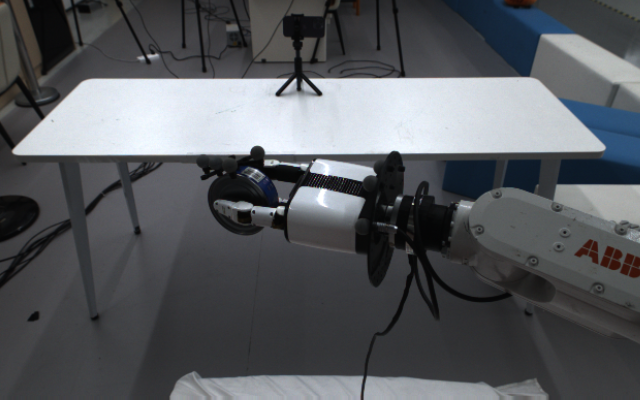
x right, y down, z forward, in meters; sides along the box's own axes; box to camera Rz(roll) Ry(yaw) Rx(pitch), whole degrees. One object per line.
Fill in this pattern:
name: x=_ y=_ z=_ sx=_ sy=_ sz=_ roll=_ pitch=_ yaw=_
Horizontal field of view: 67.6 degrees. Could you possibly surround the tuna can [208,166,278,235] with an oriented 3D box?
tuna can: x=-0.094 y=0.005 z=0.614 sx=0.085 sy=0.085 sz=0.034 roll=13 pitch=29 yaw=15
